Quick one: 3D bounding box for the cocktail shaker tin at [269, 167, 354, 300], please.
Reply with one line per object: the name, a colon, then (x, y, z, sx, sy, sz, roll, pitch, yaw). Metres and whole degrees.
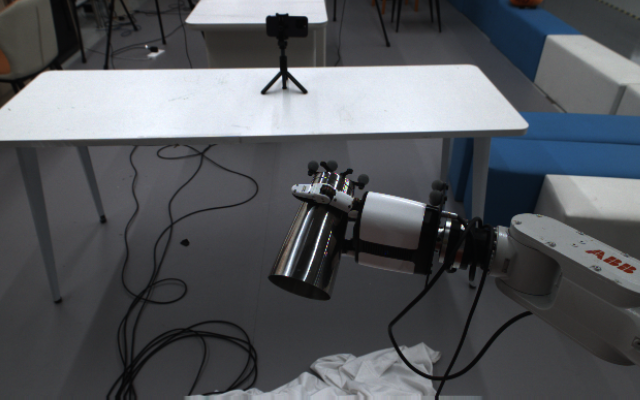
cocktail shaker tin: (-0.001, 0.044, 0.697, 0.093, 0.093, 0.170, 12, 65, 14)
